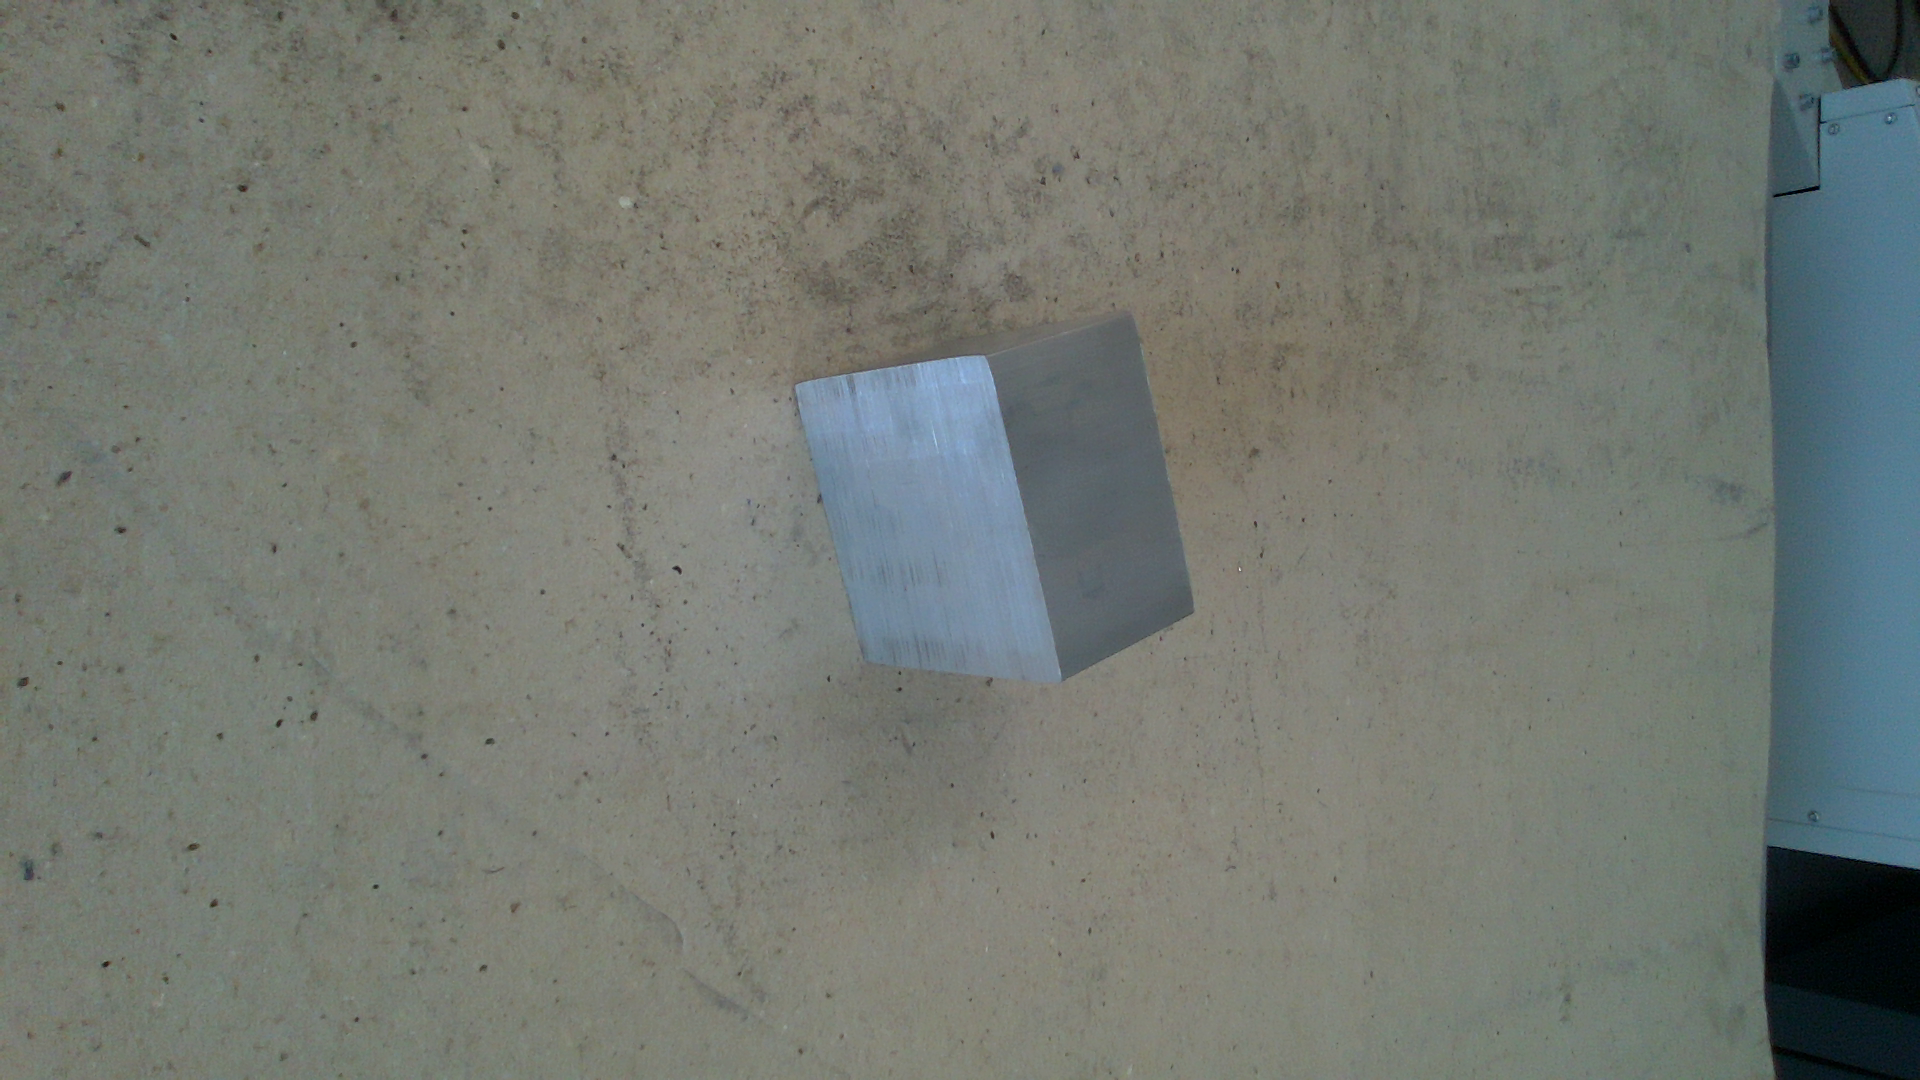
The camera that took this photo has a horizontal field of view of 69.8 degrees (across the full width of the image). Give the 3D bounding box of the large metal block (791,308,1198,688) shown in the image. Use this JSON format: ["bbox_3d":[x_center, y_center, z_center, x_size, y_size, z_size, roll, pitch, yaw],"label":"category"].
[{"bbox_3d":[0.008,-0.011,0.359,0.050,0.080,0.080,-22,104,-38],"label":"large metal block"}]
